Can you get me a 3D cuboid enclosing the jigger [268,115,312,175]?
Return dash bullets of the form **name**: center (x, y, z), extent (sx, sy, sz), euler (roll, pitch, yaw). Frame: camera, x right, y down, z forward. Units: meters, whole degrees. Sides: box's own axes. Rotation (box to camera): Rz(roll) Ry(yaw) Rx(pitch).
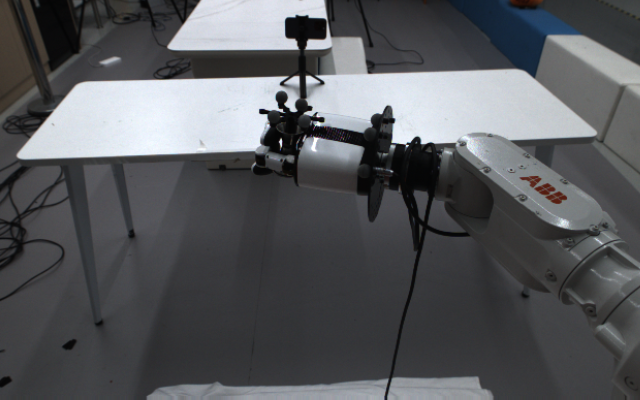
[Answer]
- **jigger**: center (-0.043, -0.071, 0.683), extent (0.043, 0.071, 0.043), euler (7, 32, -4)
